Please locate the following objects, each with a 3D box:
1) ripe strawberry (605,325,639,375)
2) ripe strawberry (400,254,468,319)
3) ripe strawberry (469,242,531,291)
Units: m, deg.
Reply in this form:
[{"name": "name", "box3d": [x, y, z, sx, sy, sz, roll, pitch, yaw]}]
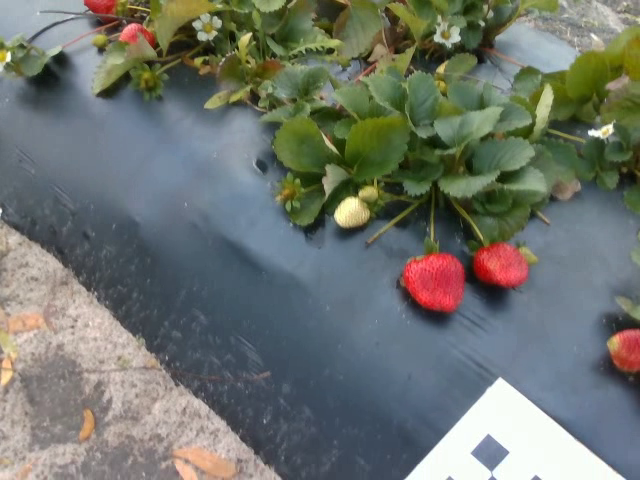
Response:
[{"name": "ripe strawberry", "box3d": [0.261, 0.093, 0.578, 0.053, 0.047, 0.038, 21, -5, -12]}, {"name": "ripe strawberry", "box3d": [0.105, 0.039, 0.611, 0.059, 0.065, 0.043, -23, -38, 13]}, {"name": "ripe strawberry", "box3d": [0.168, 0.025, 0.625, 0.050, 0.051, 0.059, -29, 19, 11]}]
